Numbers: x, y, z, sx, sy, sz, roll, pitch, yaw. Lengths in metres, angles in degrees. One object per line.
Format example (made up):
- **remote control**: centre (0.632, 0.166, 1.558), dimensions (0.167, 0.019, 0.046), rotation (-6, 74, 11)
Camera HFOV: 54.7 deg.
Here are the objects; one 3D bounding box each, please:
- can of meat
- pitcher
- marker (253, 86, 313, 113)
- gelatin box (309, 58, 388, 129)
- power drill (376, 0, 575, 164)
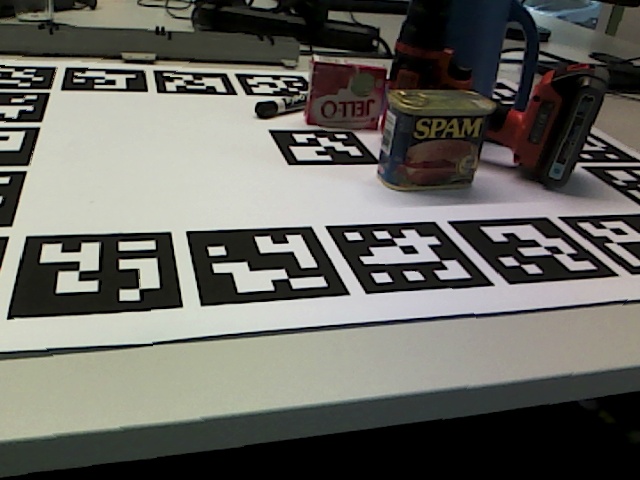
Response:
- **can of meat**: centre (0.108, -0.093, 0.607), dimensions (0.101, 0.083, 0.058), rotation (-3, 32, -18)
- **pitcher**: centre (0.181, -0.248, 0.738), dimensions (0.189, 0.242, 0.133), rotation (9, 35, 15)
- **marker**: centre (-0.034, -0.179, 0.776), dimensions (0.120, 0.019, 0.020), rotation (-23, 43, -37)
- **gelatin box**: centre (0.036, -0.173, 0.735), dimensions (0.089, 0.073, 0.030), rotation (4, 36, -8)
- **power drill**: centre (0.161, -0.170, 0.653), dimensions (0.187, 0.184, 0.057), rotation (21, 36, 10)
